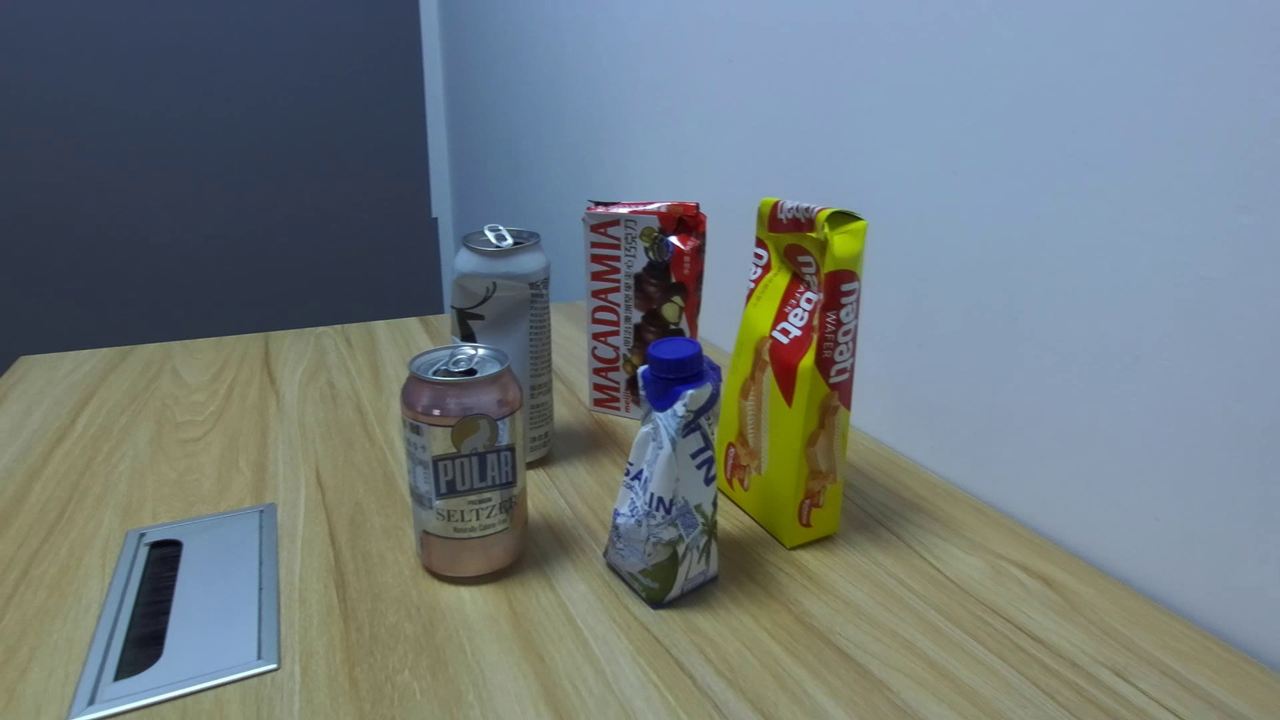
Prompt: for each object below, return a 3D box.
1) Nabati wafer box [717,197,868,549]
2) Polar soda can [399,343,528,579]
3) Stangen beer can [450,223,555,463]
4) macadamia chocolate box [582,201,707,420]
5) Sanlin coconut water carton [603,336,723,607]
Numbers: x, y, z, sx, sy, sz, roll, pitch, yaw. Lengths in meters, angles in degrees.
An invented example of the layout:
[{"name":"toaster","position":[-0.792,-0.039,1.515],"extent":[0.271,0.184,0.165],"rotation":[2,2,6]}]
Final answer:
[{"name":"Nabati wafer box","position":[0.091,0.006,0.443],"extent":[0.043,0.205,0.113],"rotation":[-7,21,-25]},{"name":"Polar soda can","position":[-0.100,0.058,0.408],"extent":[0.067,0.125,0.067],"rotation":[1,19,0]},{"name":"Stangen beer can","position":[-0.098,-0.008,0.518],"extent":[0.070,0.173,0.070],"rotation":[-11,23,-29]},{"name":"macadamia chocolate box","position":[0.005,-0.036,0.577],"extent":[0.102,0.187,0.027],"rotation":[10,24,24]},{"name":"Sanlin coconut water carton","position":[0.026,0.059,0.389],"extent":[0.069,0.144,0.056],"rotation":[-5,26,-40]}]
